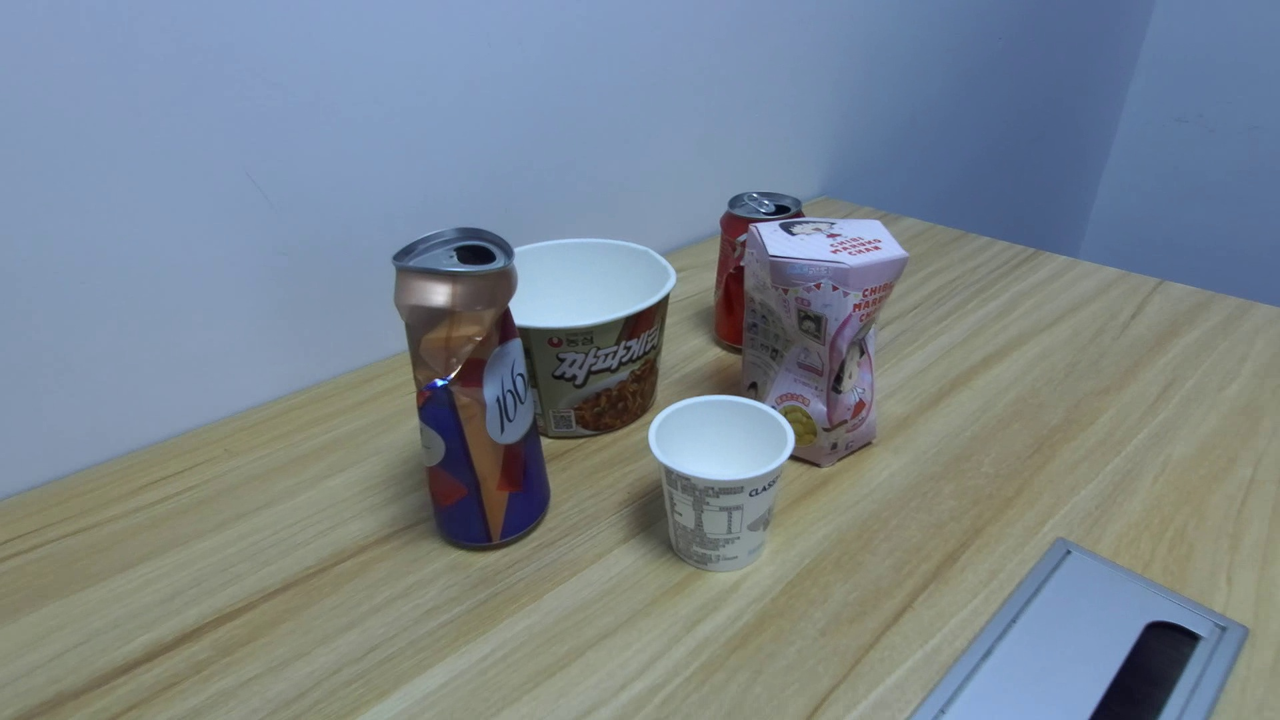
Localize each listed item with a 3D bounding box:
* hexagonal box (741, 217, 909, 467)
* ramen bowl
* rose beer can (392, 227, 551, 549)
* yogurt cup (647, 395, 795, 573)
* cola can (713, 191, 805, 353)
[{"bbox_3d":[0.105,-0.011,0.429,0.093,0.135,0.089,10,32,19],"label":"hexagonal box"},{"bbox_3d":[-0.045,-0.014,0.486,0.140,0.095,0.140,-1,29,1],"label":"ramen bowl"},{"bbox_3d":[-0.087,0.019,0.368,0.068,0.162,0.073,-18,35,-26],"label":"rose beer can"},{"bbox_3d":[0.041,0.065,0.364,0.072,0.068,0.072,-1,31,1],"label":"yogurt cup"},{"bbox_3d":[0.093,-0.067,0.551,0.066,0.117,0.065,-10,27,-16],"label":"cola can"}]
